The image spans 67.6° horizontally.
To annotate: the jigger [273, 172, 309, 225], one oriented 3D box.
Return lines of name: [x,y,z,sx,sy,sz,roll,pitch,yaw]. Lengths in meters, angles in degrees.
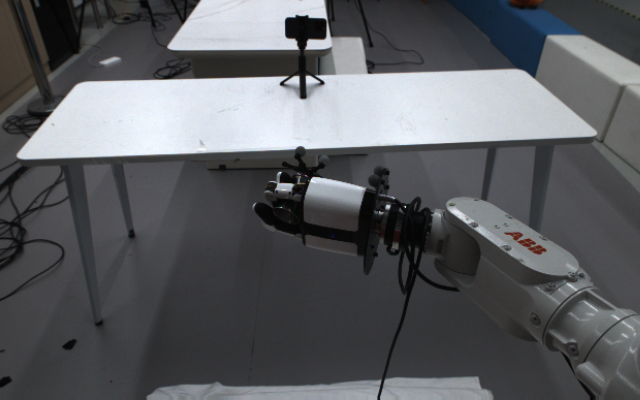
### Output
jigger: [-0.038,-0.006,0.740,0.043,0.043,0.071,15,58,18]
